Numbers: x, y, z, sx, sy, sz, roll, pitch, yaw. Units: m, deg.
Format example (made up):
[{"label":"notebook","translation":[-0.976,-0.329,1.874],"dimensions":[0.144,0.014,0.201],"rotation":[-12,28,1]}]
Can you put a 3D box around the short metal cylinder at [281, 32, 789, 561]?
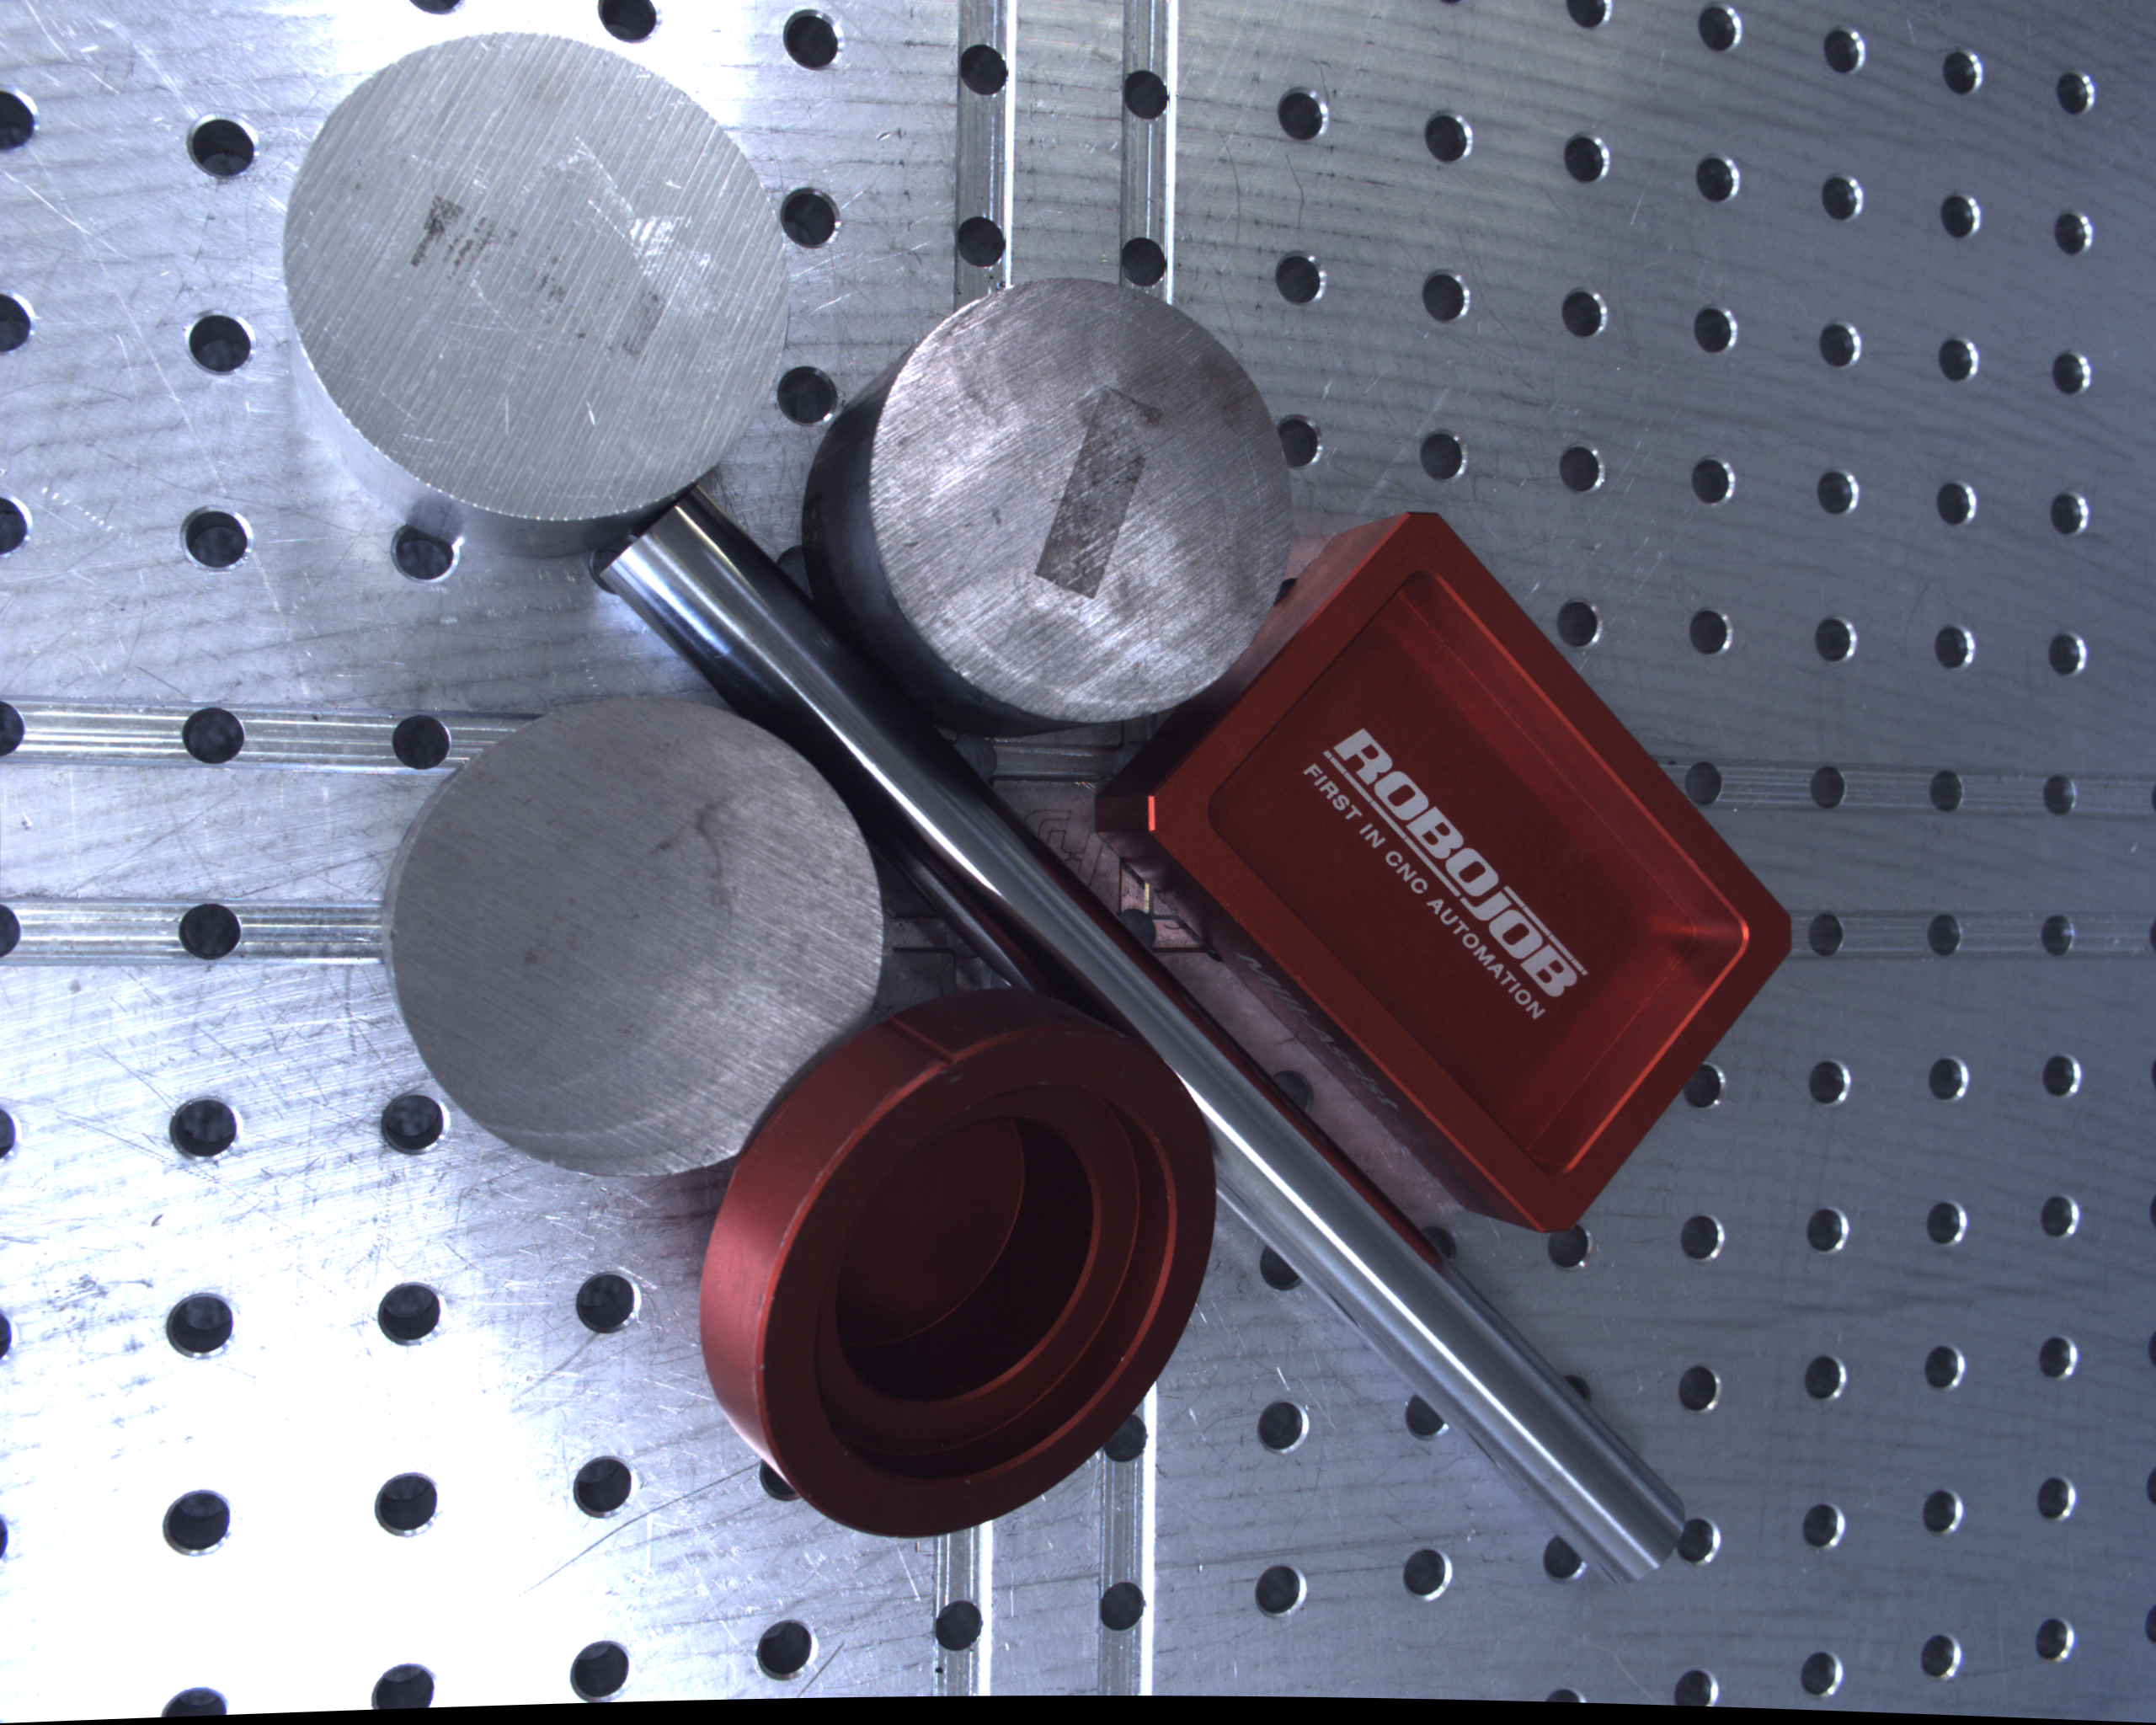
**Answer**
[{"label":"short metal cylinder","translation":[-0.095,-0.096,0.364],"dimensions":[0.081,0.050,0.080],"rotation":[0,90,-20]}]

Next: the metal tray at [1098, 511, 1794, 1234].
[{"label":"metal tray","translation":[0.079,0.003,0.438],"dimensions":[0.130,0.030,0.090],"rotation":[45,77,-15]}]

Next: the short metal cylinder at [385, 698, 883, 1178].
[{"label":"short metal cylinder","translation":[-0.080,0.012,0.369],"dimensions":[0.081,0.050,0.080],"rotation":[0,90,-20]}]

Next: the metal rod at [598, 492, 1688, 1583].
[{"label":"metal rod","translation":[0.022,0.043,0.421],"dimensions":[0.300,0.025,0.025],"rotation":[46,76,-14]}]

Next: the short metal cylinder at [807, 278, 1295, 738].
[{"label":"short metal cylinder","translation":[-0.006,-0.065,0.396],"dimensions":[0.081,0.050,0.080],"rotation":[0,90,-20]}]

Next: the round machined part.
[{"label":"round machined part","translation":[-0.026,0.069,0.383],"dimensions":[0.099,0.042,0.097],"rotation":[-14,113,-35]}]
